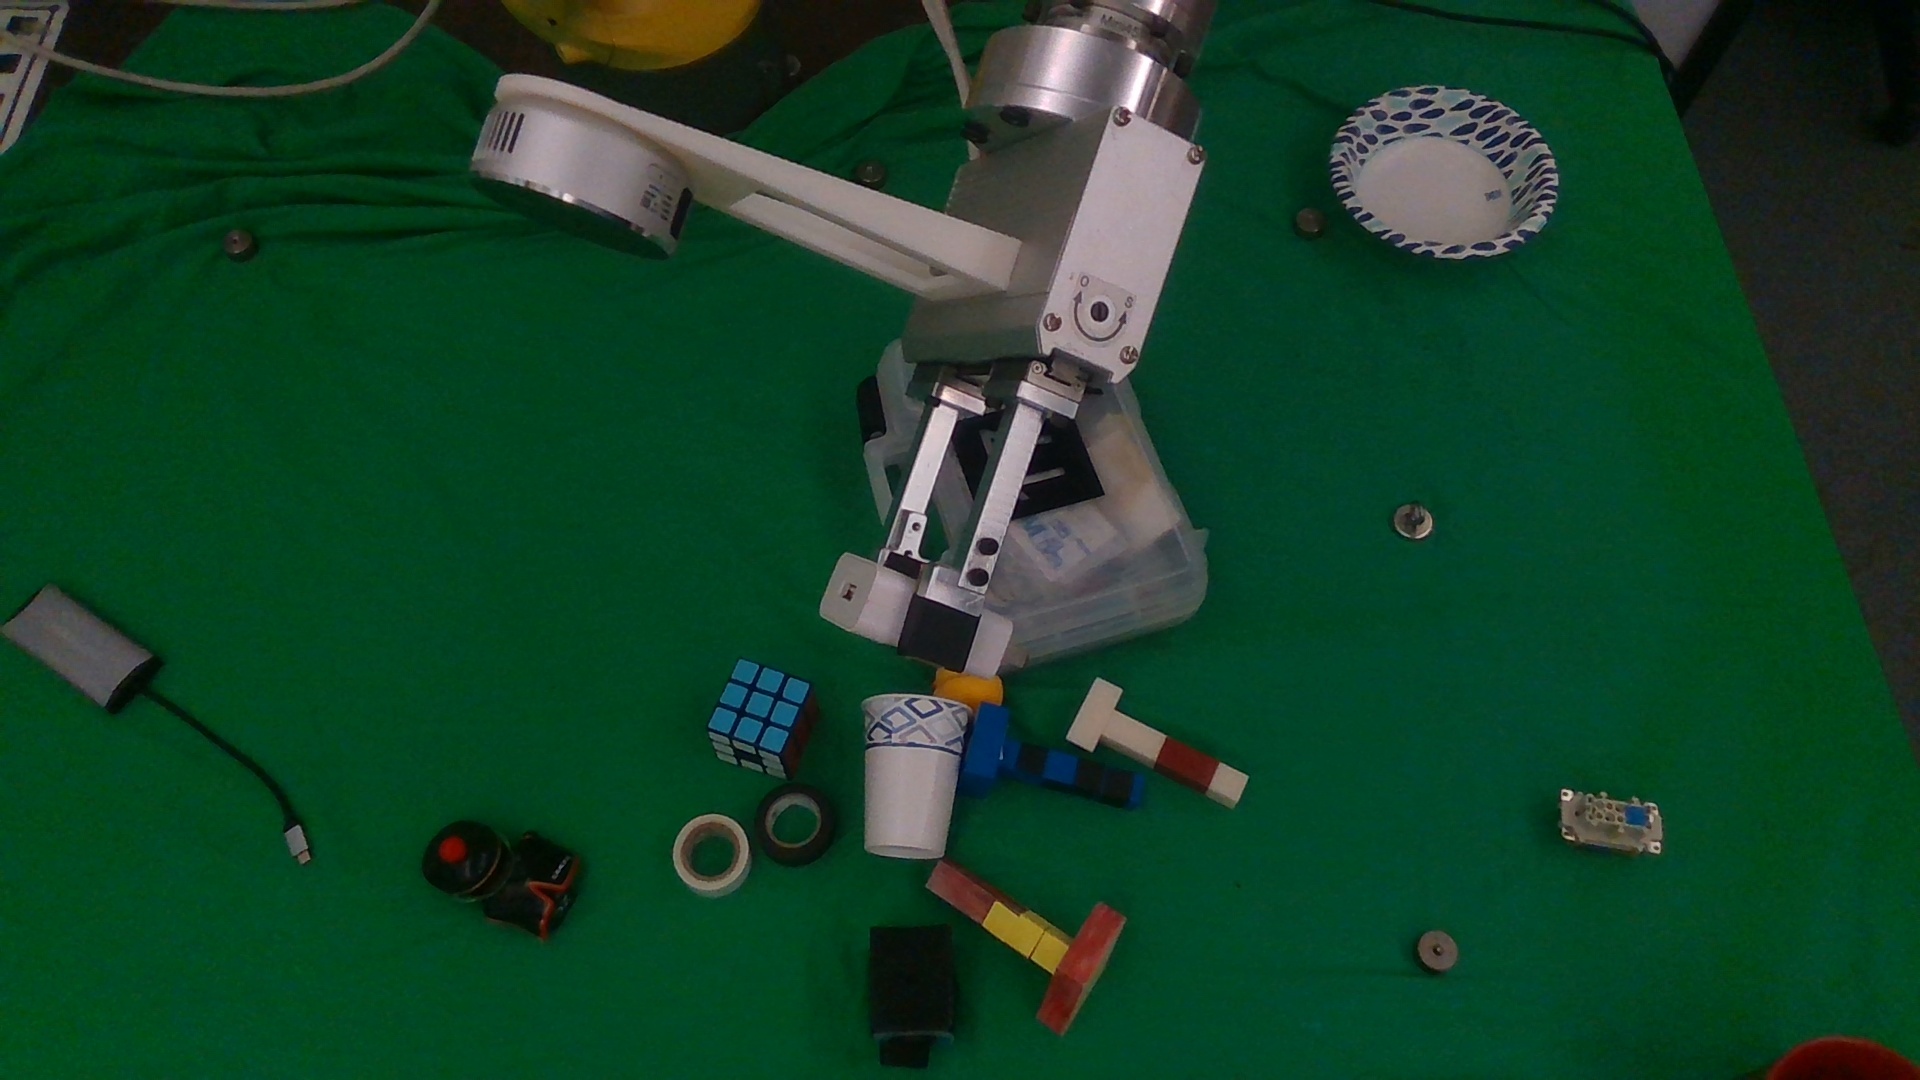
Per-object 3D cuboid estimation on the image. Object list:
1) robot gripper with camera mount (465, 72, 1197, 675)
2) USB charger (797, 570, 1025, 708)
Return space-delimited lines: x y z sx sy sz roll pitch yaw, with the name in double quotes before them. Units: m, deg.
"robot gripper with camera mount" -0.062 -0.062 0.424 0.193 0.119 0.158 22 87 -24
"USB charger" -0.015 0.035 0.460 0.075 0.045 0.029 18 97 -17
